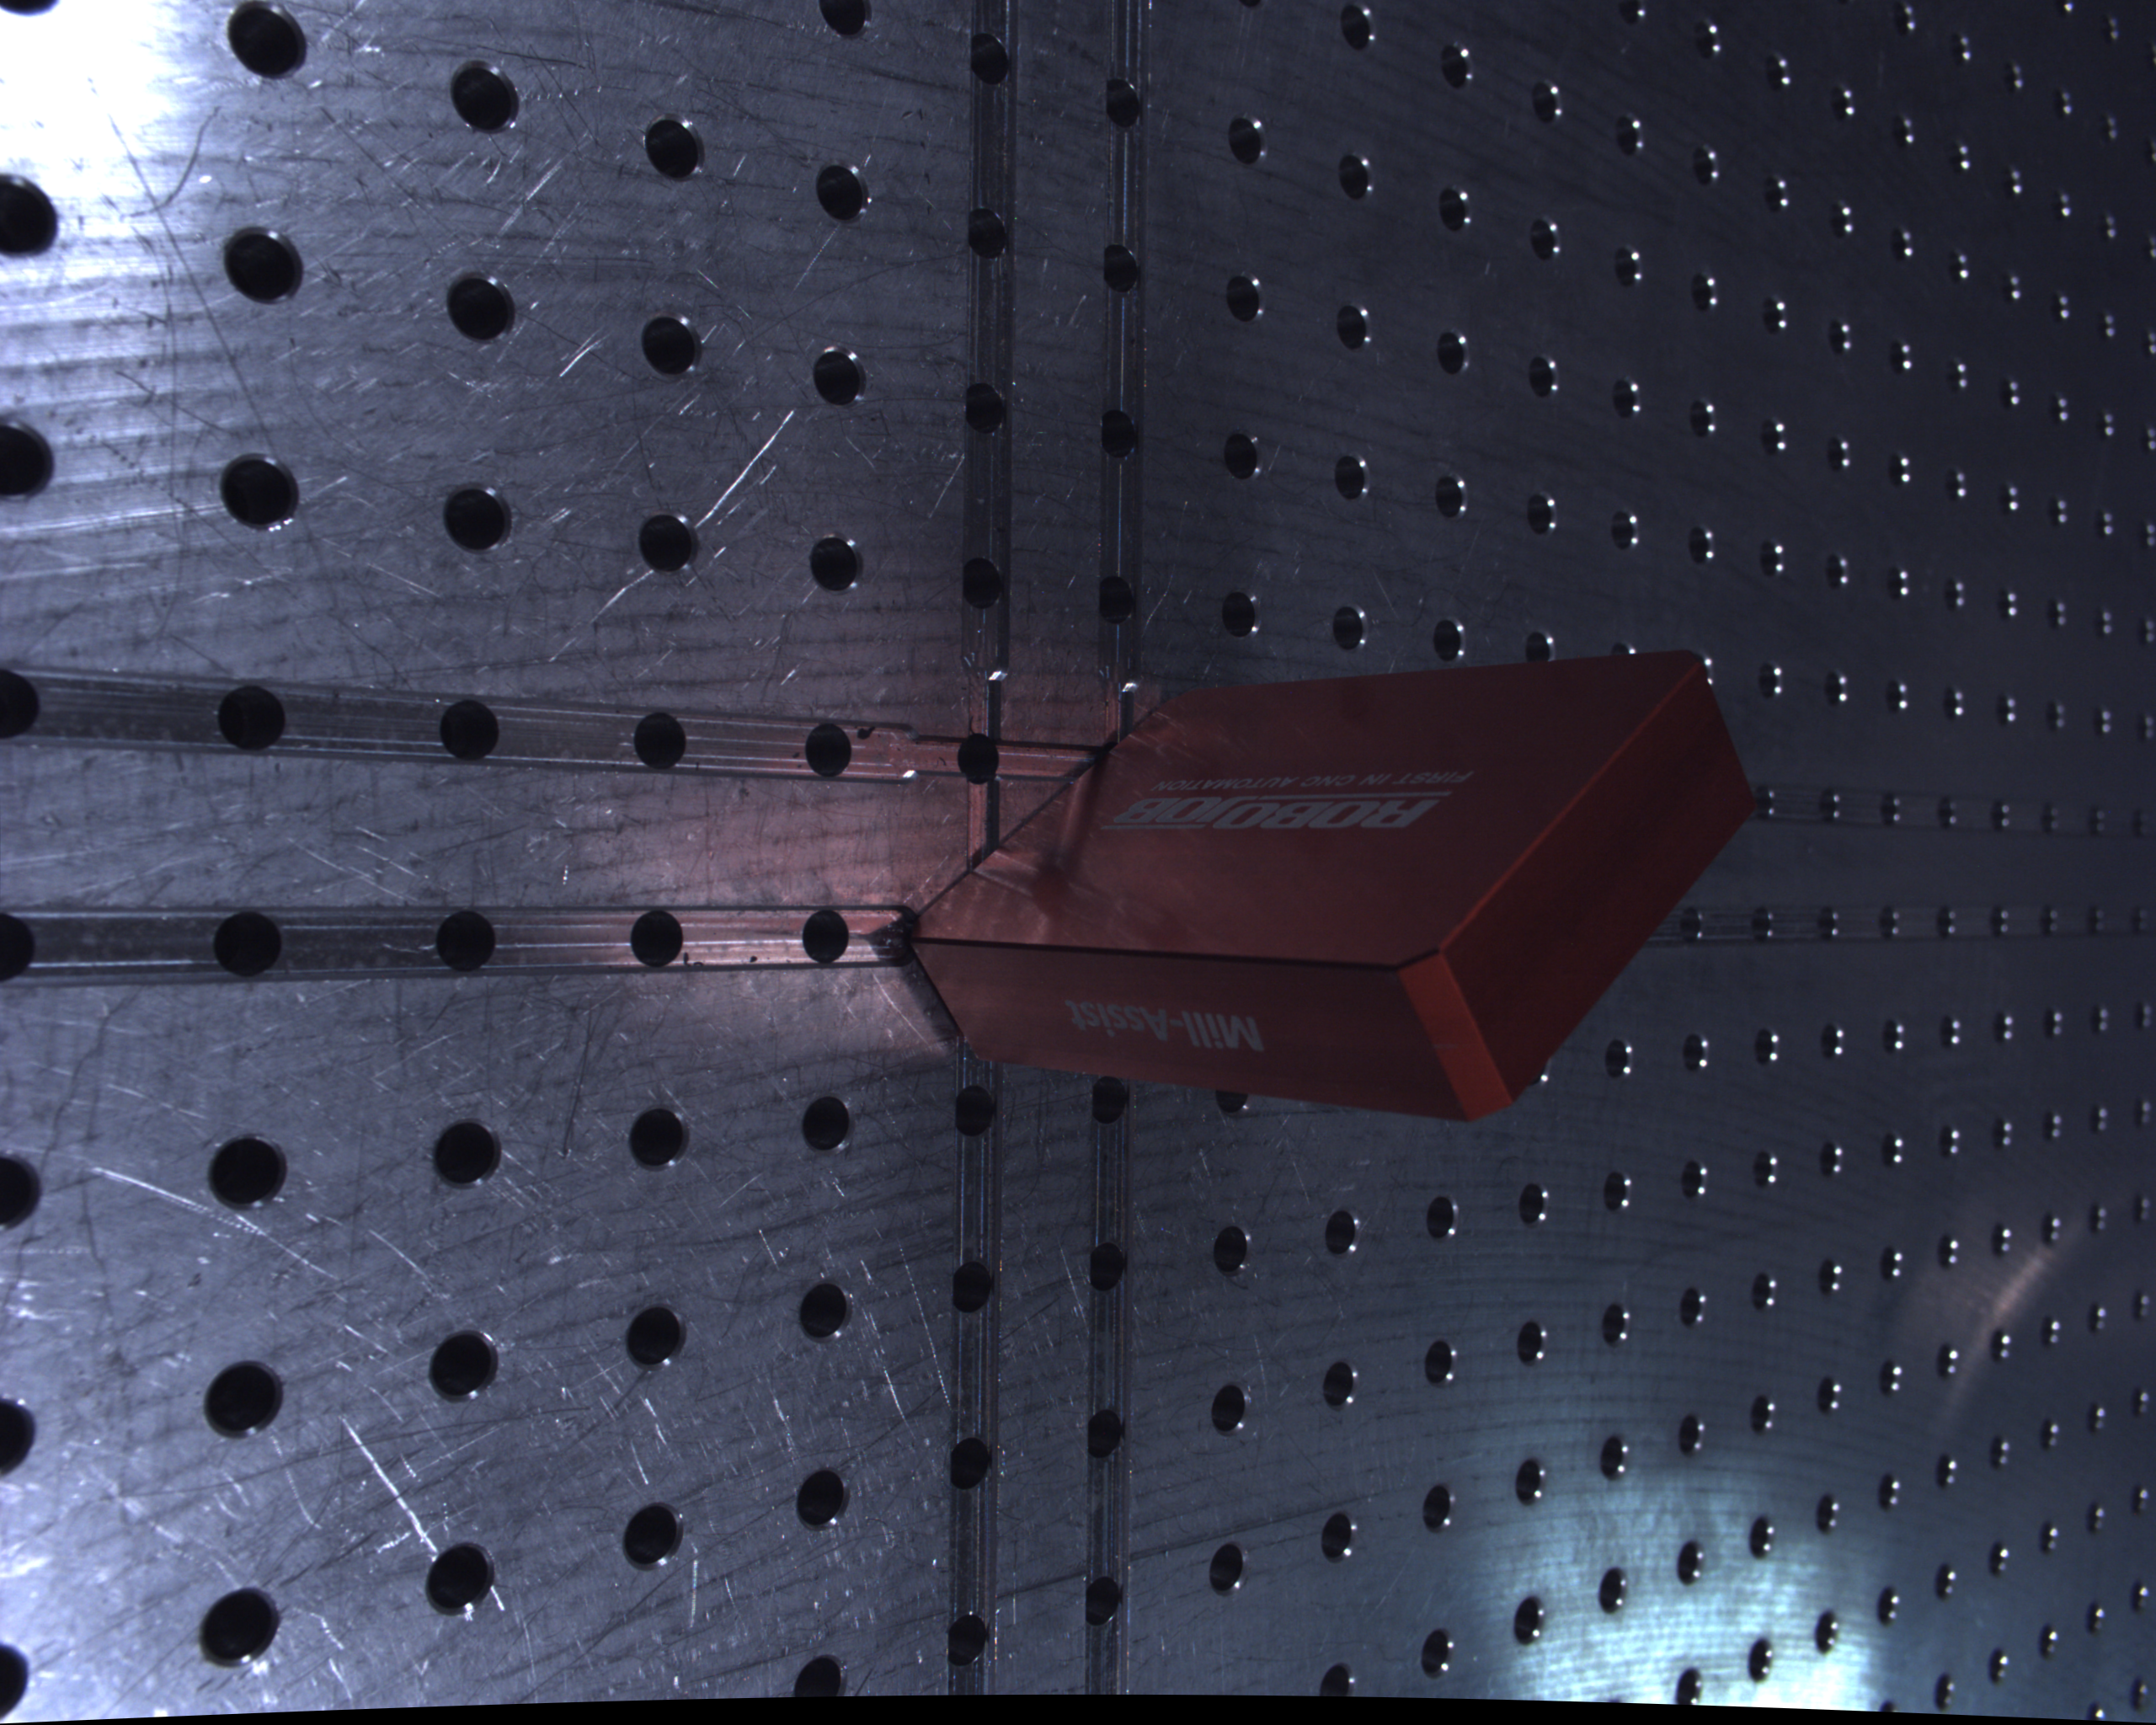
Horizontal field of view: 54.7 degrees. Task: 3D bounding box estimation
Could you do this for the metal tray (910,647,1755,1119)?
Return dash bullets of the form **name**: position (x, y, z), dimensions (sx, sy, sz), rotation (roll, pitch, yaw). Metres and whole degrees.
- **metal tray**: position (0.042, 0.001, 0.378), dimensions (0.090, 0.130, 0.030), rotation (-42, 116, -32)
